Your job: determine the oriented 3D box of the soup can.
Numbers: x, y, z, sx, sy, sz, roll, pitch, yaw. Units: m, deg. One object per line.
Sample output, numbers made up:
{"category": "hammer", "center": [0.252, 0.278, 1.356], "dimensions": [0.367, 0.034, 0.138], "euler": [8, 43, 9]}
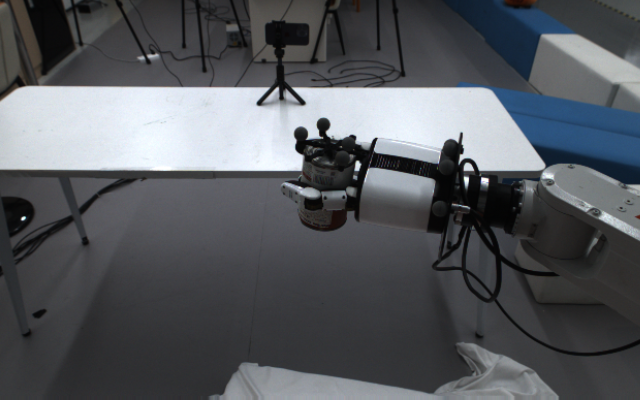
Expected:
{"category": "soup can", "center": [0.009, -0.019, 0.627], "dimensions": [0.067, 0.101, 0.067], "euler": [5, 36, -4]}
